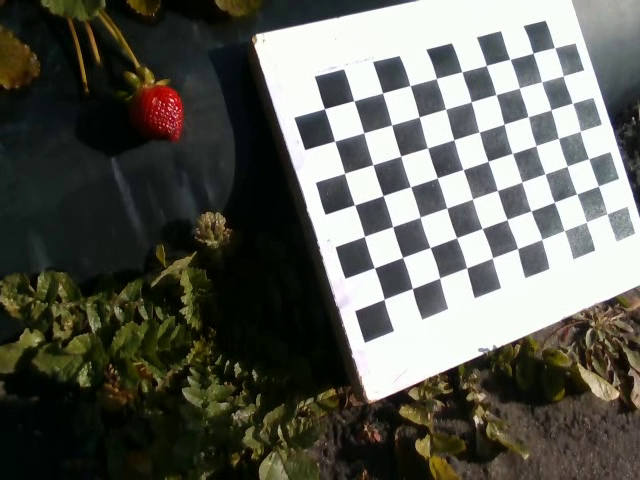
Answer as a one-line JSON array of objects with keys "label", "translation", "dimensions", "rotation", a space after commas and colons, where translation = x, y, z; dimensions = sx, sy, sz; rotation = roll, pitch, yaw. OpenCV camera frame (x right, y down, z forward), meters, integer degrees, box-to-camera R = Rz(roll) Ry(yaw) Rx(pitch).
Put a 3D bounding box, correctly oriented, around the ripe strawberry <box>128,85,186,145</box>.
[{"label": "ripe strawberry", "translation": [-0.100, -0.076, 0.437], "dimensions": [0.040, 0.044, 0.037], "rotation": [-39, -3, -17]}]
